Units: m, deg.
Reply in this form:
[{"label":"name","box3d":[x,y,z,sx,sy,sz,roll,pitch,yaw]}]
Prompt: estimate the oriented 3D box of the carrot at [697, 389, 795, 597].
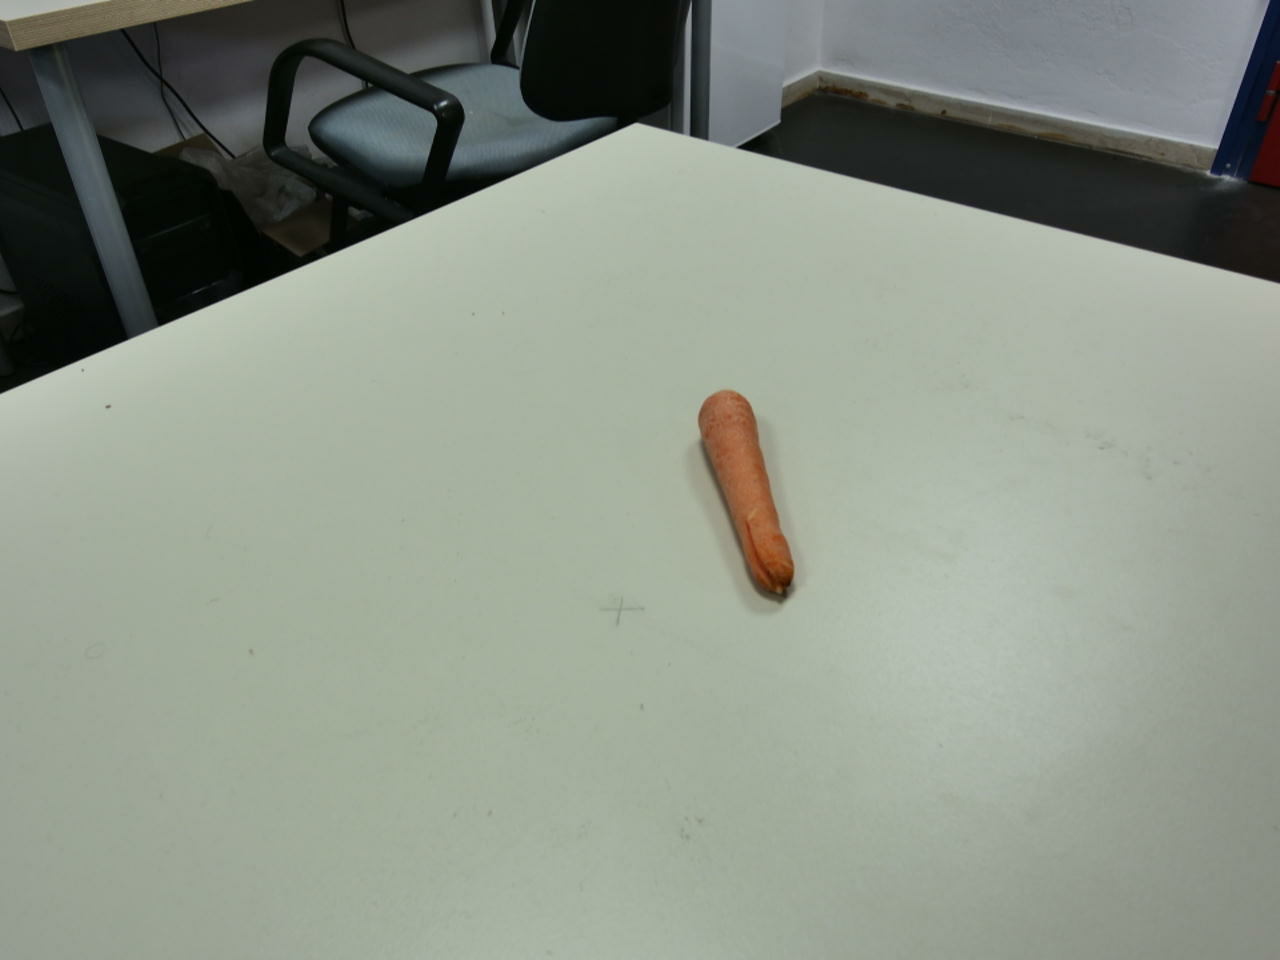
[{"label":"carrot","box3d":[0.049,0.000,0.469,0.030,0.032,0.136,-4,36,-4]}]
